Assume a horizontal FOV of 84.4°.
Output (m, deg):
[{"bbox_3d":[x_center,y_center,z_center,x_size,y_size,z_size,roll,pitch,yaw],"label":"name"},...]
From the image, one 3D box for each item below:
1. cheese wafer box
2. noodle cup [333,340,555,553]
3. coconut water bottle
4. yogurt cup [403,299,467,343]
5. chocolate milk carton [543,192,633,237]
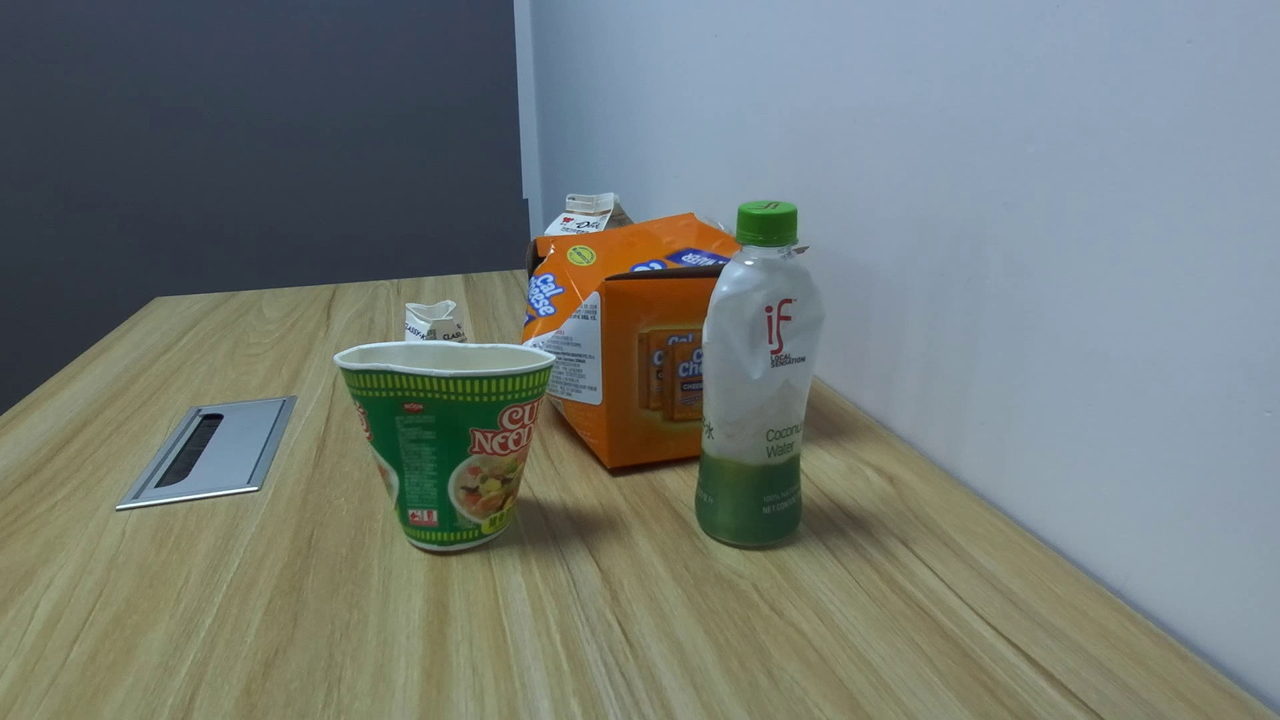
[{"bbox_3d":[0.000,-0.031,0.563,0.192,0.145,0.218,-8,22,-18],"label":"cheese wafer box"},{"bbox_3d":[-0.112,0.045,0.413,0.114,0.111,0.070,11,26,26],"label":"noodle cup"},{"bbox_3d":[0.065,0.009,0.392,0.067,0.187,0.067,0,21,0],"label":"coconut water bottle"},{"bbox_3d":[-0.178,-0.011,0.619,0.055,0.072,0.054,-3,23,-11],"label":"yogurt cup"},{"bbox_3d":[-0.048,-0.101,0.737,0.075,0.148,0.074,16,29,36],"label":"chocolate milk carton"}]
